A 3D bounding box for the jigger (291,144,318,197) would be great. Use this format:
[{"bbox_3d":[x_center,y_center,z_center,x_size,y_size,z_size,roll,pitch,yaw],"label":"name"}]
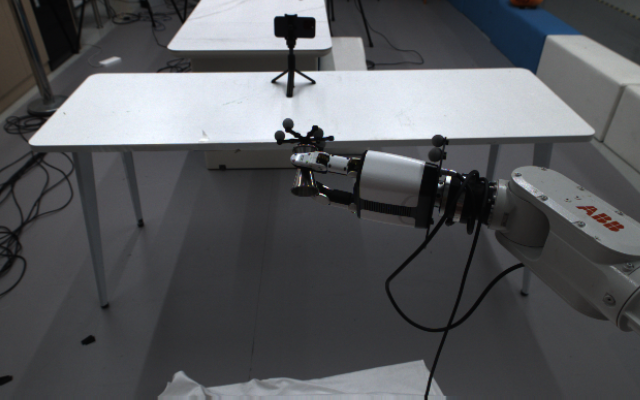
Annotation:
[{"bbox_3d":[-0.023,-0.046,0.720,0.043,0.043,0.071,1,70,-2],"label":"jigger"}]
